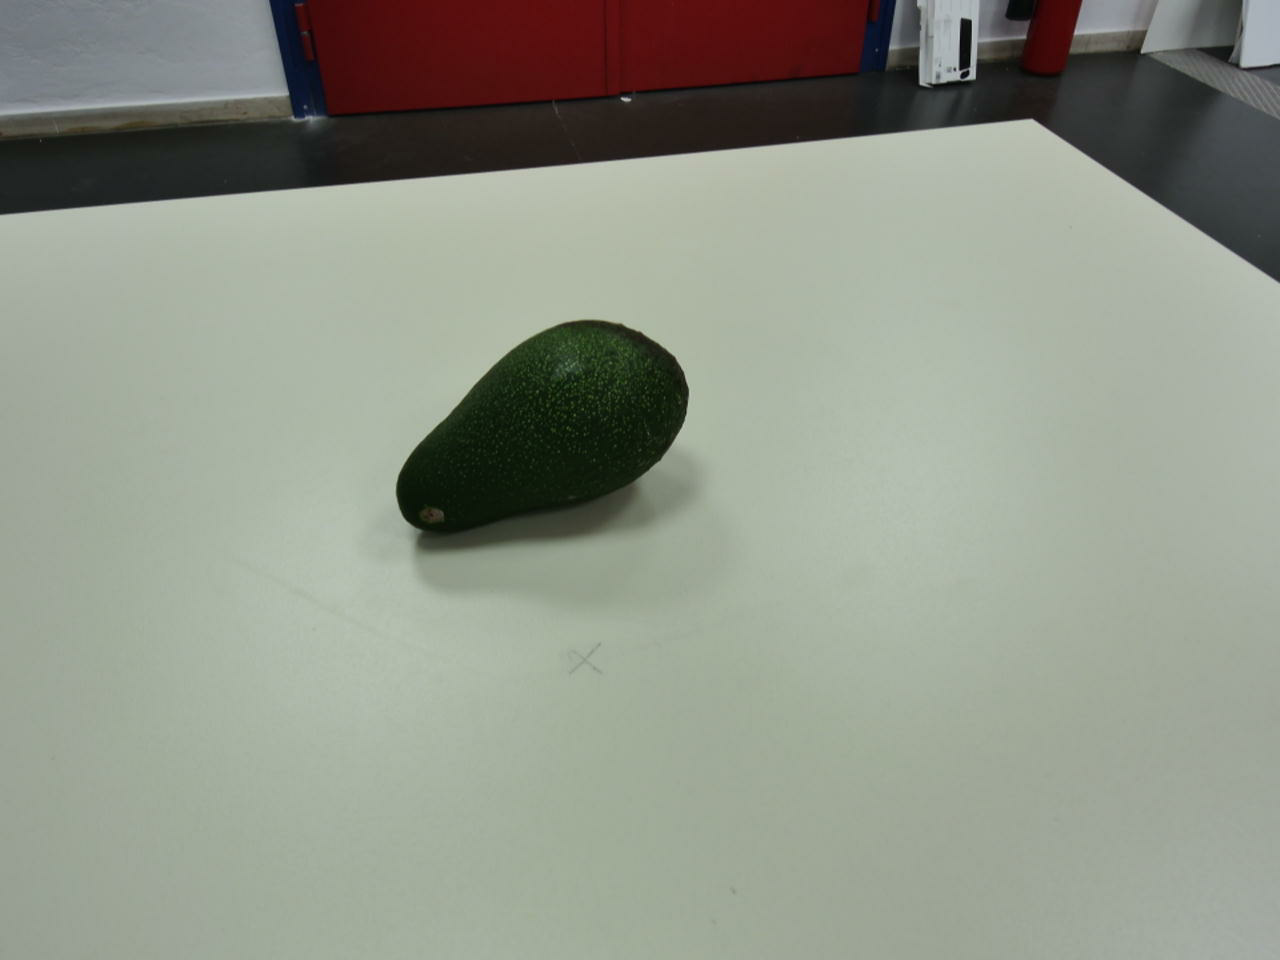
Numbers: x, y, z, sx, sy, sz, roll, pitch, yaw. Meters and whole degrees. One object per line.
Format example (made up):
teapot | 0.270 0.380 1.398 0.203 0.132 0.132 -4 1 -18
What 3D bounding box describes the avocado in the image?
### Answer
avocado | -0.041 -0.027 0.417 0.123 0.076 0.074 -4 39 -6
